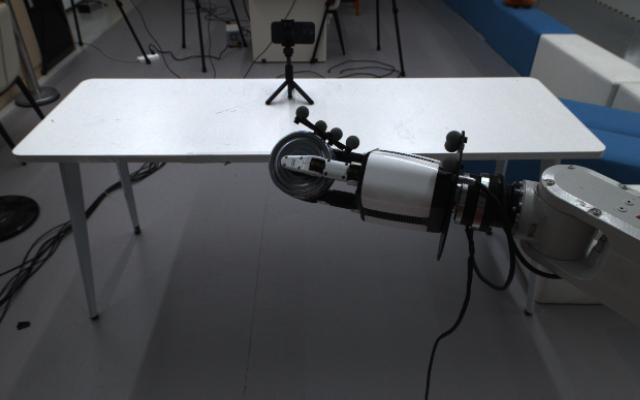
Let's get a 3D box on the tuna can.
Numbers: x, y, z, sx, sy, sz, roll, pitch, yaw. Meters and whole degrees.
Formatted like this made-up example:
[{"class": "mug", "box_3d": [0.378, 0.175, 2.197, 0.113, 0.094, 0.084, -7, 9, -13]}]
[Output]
[{"class": "tuna can", "box_3d": [-0.021, -0.046, 0.626, 0.085, 0.085, 0.034, 13, -4, 15]}]
